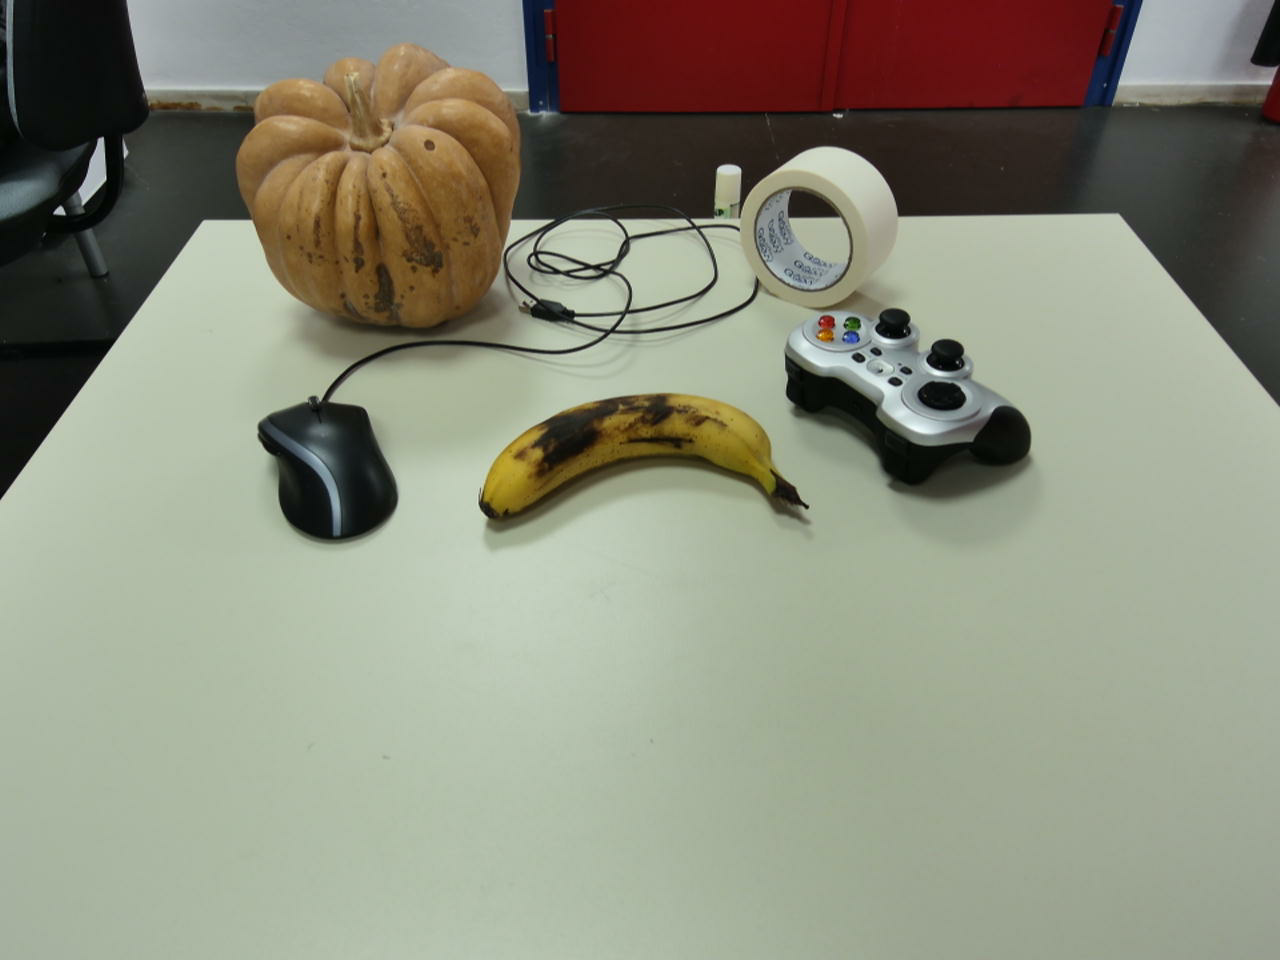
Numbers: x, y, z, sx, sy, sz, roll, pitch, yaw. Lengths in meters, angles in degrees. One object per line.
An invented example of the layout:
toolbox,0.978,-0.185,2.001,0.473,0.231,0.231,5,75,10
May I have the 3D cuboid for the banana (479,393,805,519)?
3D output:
banana,0.000,-0.017,0.603,0.187,0.039,0.094,-1,39,-2
